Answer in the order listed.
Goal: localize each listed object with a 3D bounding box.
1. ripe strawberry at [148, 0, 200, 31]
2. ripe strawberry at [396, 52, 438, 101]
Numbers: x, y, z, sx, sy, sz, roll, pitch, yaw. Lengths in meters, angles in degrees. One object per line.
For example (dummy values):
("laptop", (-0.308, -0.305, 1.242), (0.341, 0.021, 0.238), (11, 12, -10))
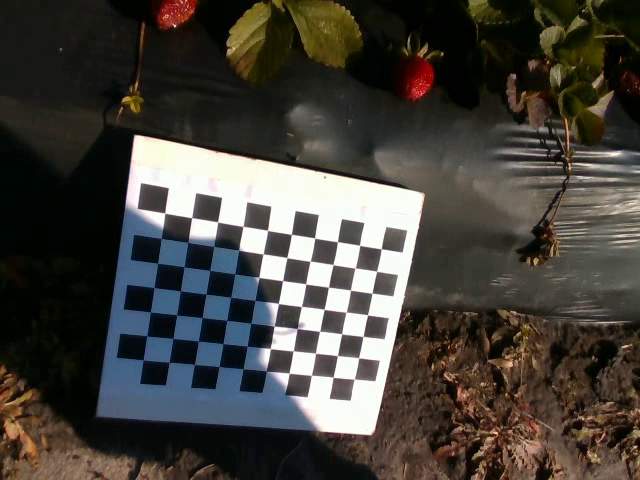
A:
("ripe strawberry", (-0.116, -0.186, 0.437), (0.041, 0.053, 0.043), (21, -40, -18))
("ripe strawberry", (0.081, -0.140, 0.480), (0.043, 0.043, 0.050), (-30, 23, 37))
